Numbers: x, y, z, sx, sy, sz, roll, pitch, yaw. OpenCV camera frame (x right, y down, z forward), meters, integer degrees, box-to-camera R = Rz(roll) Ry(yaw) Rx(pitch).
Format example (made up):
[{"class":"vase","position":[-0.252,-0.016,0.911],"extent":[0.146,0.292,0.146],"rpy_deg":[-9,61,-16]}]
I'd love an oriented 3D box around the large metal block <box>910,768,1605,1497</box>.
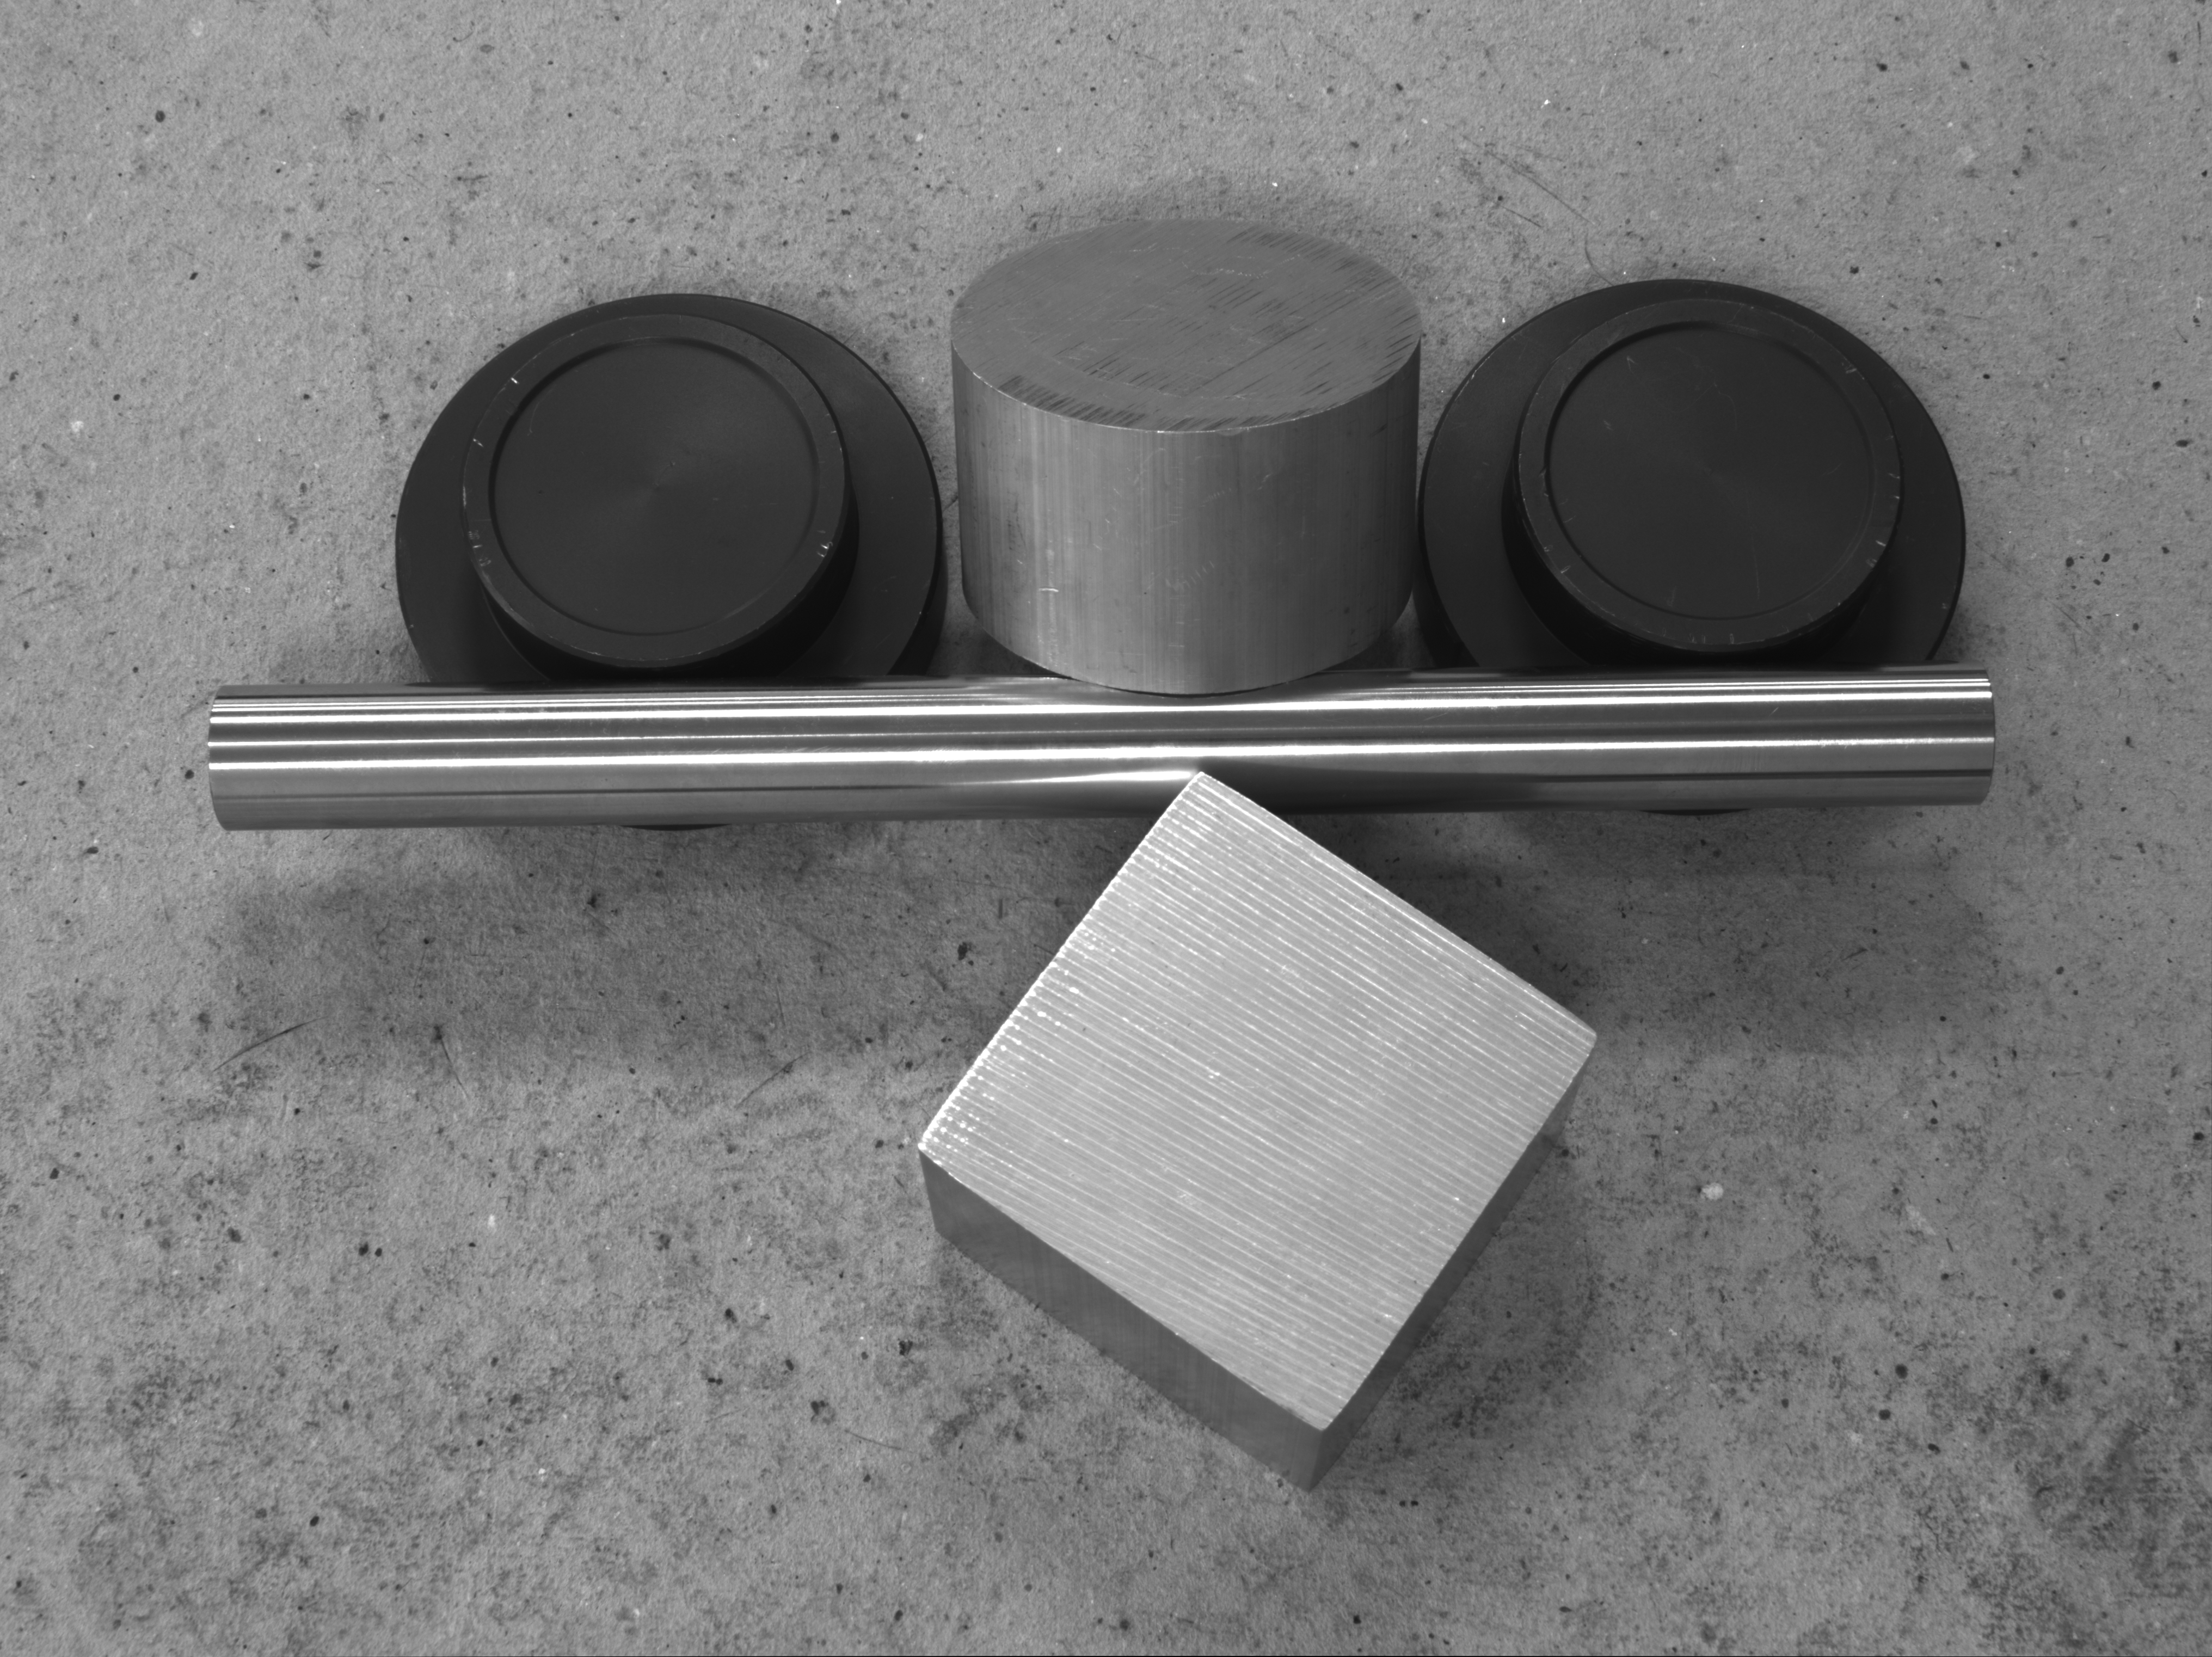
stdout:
[{"class":"large metal block","position":[0.025,0.051,0.611],"extent":[0.080,0.050,0.080],"rpy_deg":[34,73,12]}]

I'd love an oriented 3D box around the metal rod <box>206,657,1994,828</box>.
[{"class":"metal rod","position":[-0.001,-0.015,0.628],"extent":[0.300,0.025,0.025],"rpy_deg":[-1,70,0]}]

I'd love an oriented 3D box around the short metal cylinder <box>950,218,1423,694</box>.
[{"class":"short metal cylinder","position":[0.014,-0.066,0.637],"extent":[0.080,0.050,0.080],"rpy_deg":[0,34,0]}]

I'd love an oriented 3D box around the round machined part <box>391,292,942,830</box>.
[{"class":"round machined part","position":[-0.079,-0.053,0.655],"extent":[0.098,0.042,0.098],"rpy_deg":[0,70,0]}]

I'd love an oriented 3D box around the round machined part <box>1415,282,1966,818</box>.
[{"class":"round machined part","position":[0.105,-0.055,0.657],"extent":[0.098,0.042,0.098],"rpy_deg":[0,70,0]}]
